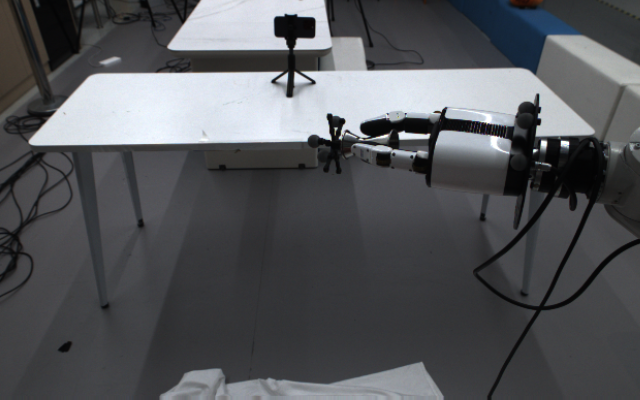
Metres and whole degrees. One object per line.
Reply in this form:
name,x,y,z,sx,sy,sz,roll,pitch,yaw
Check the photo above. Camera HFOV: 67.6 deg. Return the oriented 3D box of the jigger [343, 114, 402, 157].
jigger,0.073,-0.078,0.640,0.071,0.043,0.043,3,32,26
